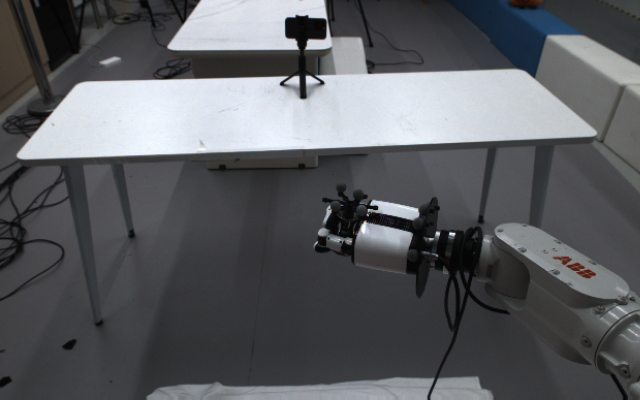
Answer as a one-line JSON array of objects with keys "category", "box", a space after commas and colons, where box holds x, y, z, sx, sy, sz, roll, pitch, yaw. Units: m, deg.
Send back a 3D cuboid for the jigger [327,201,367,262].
[{"category": "jigger", "box": [0.044, 0.051, 0.789, 0.043, 0.071, 0.043, 5, 26, -3]}]
